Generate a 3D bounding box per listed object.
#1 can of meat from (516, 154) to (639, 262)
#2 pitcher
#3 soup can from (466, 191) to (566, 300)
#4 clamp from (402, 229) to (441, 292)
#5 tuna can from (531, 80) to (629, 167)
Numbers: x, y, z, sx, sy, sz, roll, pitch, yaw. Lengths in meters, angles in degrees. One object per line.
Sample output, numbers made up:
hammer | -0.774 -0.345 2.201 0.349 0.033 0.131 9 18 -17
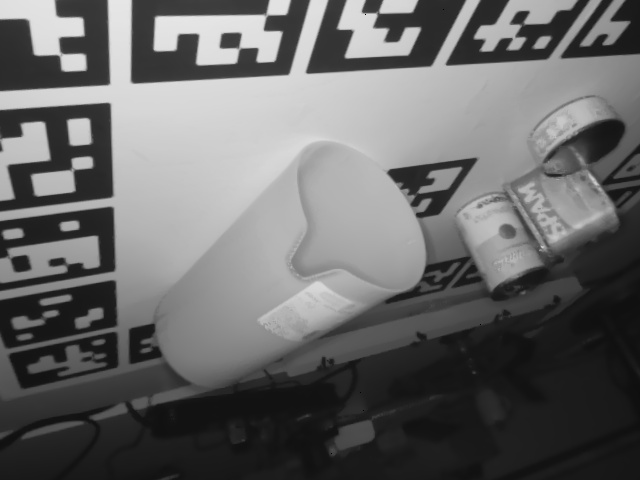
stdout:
can of meat | 0.267 -0.039 0.717 0.083 0.102 0.058 -33 146 12
pitcher | -0.030 0.042 0.628 0.192 0.133 0.238 -22 165 -45
soup can | 0.213 0.005 0.761 0.068 0.102 0.067 -18 147 -11
clamp | 0.045 0.034 0.782 0.167 0.037 0.120 -7 150 -16
tuna can | 0.248 -0.111 0.666 0.086 0.034 0.085 -16 147 -10
